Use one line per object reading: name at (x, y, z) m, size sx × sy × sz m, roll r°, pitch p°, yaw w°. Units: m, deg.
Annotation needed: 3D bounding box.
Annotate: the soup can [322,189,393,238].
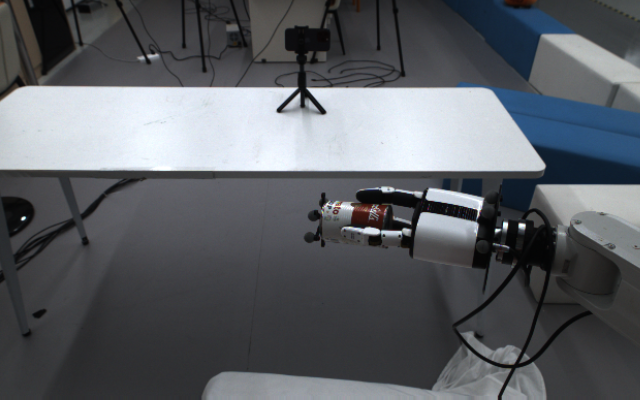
soup can at (0.060, 0.037, 0.754) m, size 0.101 × 0.067 × 0.067 m, roll 5°, pitch 34°, yaw 18°
